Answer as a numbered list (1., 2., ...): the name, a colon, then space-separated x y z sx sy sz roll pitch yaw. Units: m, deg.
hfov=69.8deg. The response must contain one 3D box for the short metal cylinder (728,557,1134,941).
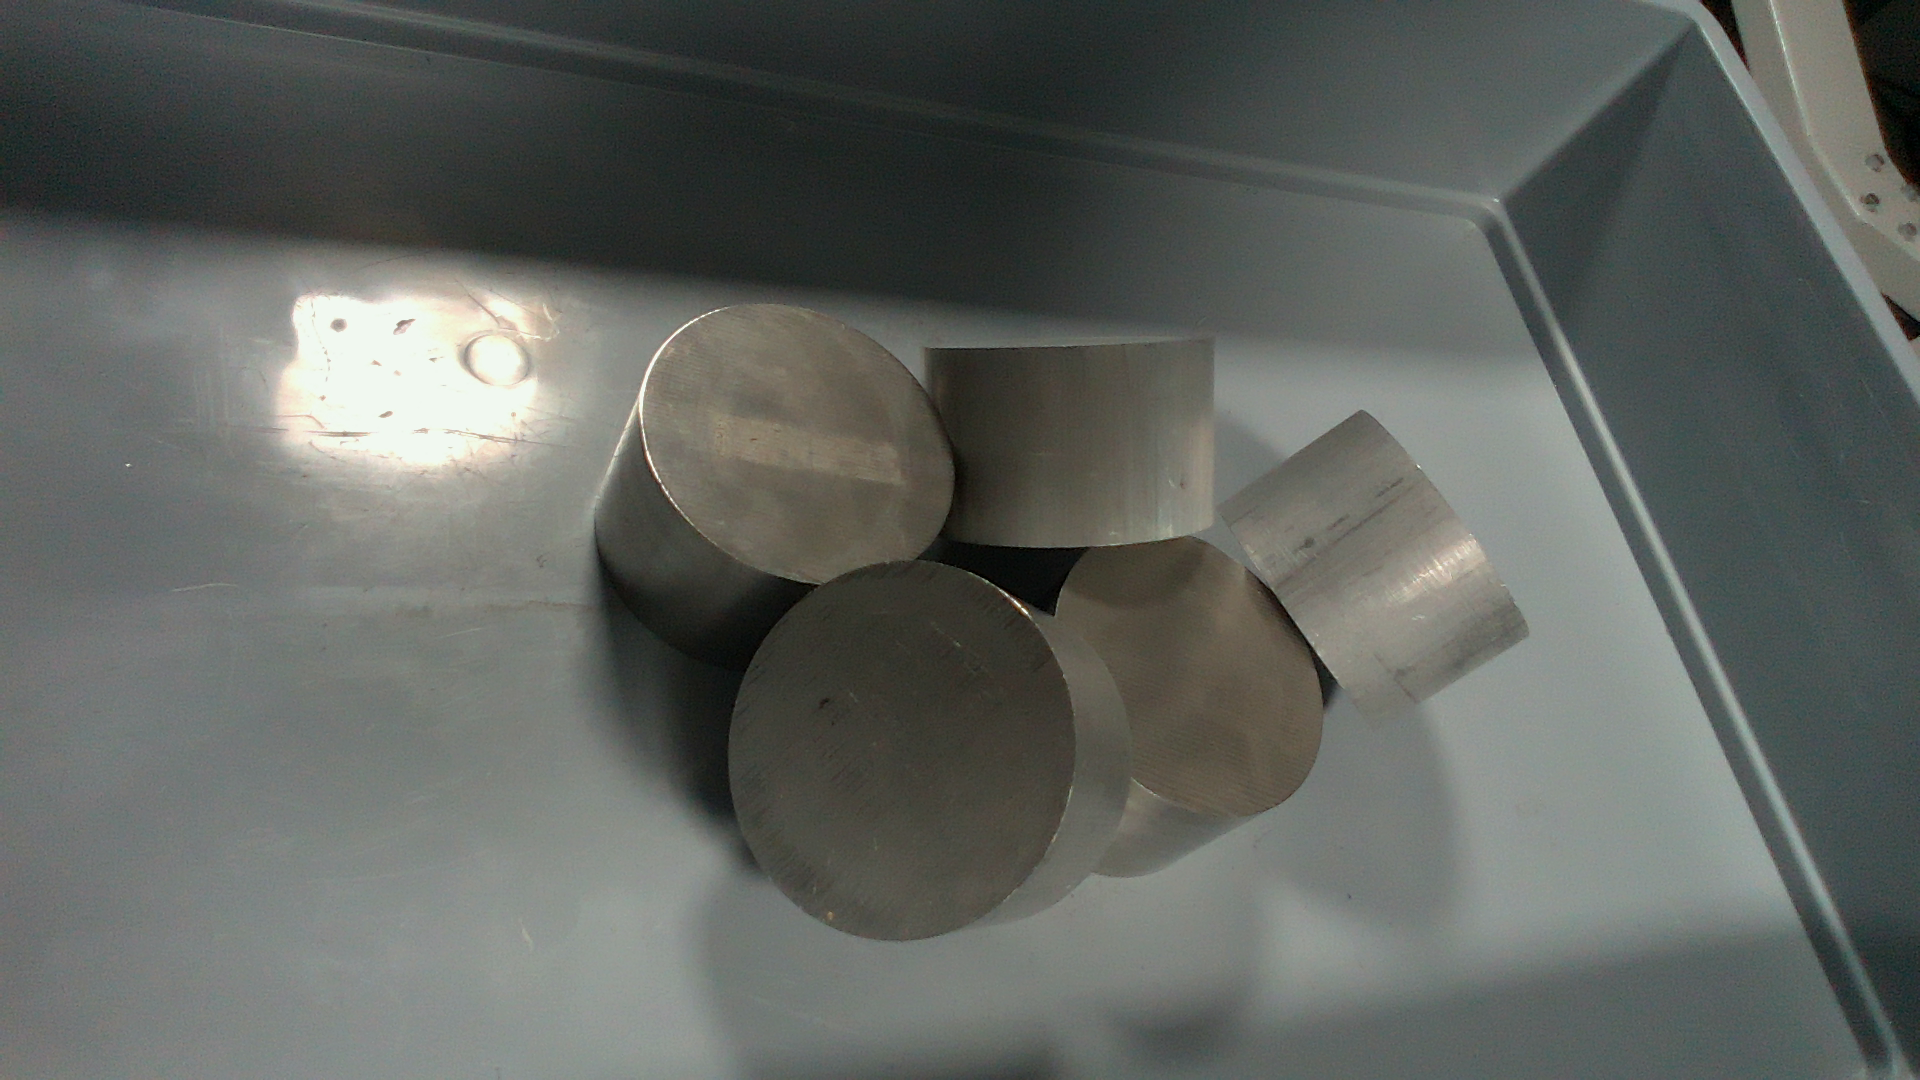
1. short metal cylinder: -0.005 0.048 0.312 0.080 0.080 0.050 66 13 19

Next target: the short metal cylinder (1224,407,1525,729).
1. short metal cylinder: 0.119 0.008 0.405 0.080 0.050 0.080 52 11 -13

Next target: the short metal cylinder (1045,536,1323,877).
1. short metal cylinder: 0.050 0.044 0.372 0.080 0.050 0.080 14 56 -21

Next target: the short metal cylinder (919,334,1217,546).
1. short metal cylinder: 0.030 -0.030 0.378 0.080 0.080 0.050 -8 101 -32

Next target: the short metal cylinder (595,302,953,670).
1. short metal cylinder: -0.048 -0.013 0.353 0.080 0.050 0.080 14 56 -21
